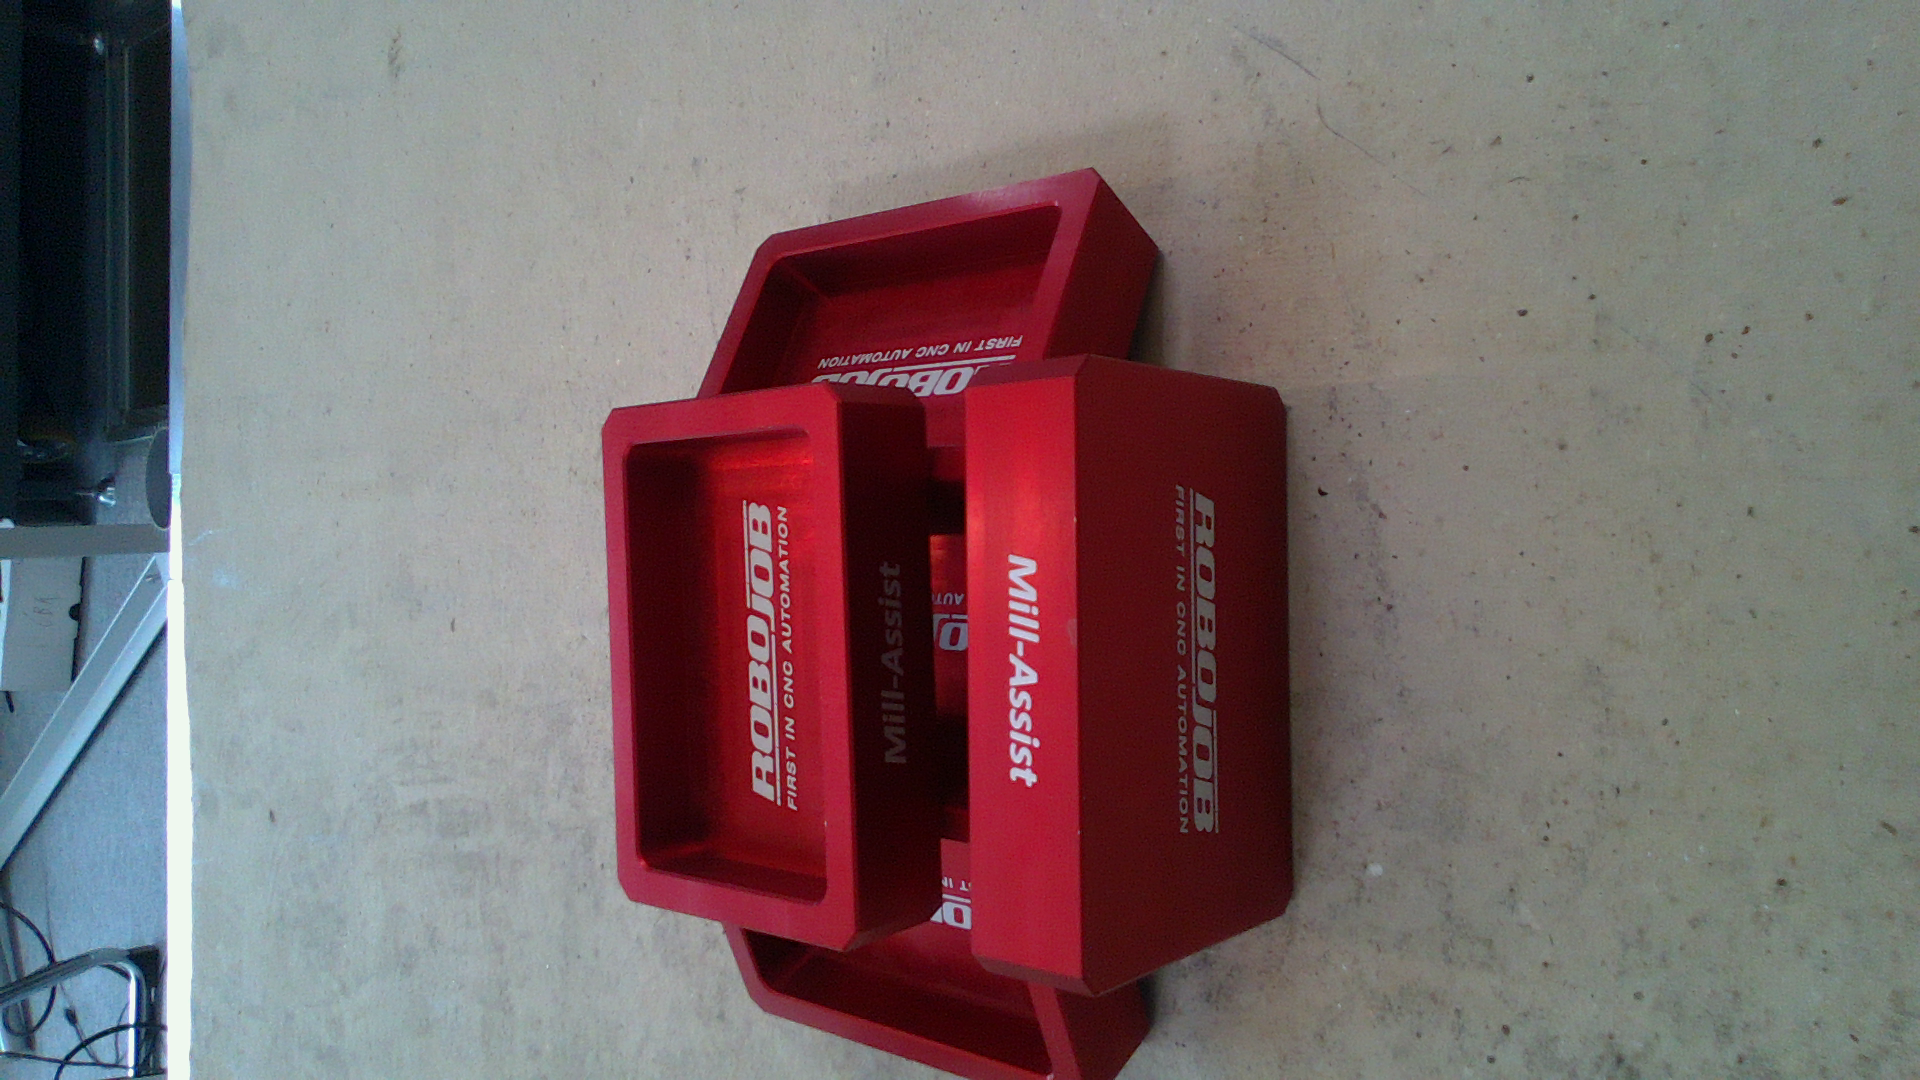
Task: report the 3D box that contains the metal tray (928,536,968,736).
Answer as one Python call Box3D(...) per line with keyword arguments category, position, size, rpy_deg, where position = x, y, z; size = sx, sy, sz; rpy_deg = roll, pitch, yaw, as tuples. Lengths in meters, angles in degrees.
Box3D(category="metal tray", position=(-0.003, 0.022, 0.392), size=(0.129, 0.030, 0.090), rpy_deg=(-1, 91, 40))

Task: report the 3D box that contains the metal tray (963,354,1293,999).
Box3D(category="metal tray", position=(0.042, 0.027, 0.317), size=(0.030, 0.090, 0.130), rpy_deg=(-1, 90, 40))

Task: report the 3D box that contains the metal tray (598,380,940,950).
Box3D(category="metal tray", position=(-0.051, 0.029, 0.349), size=(0.090, 0.030, 0.130), rpy_deg=(-1, 92, 40))

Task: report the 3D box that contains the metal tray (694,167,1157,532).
Box3D(category="metal tray", position=(-0.017, -0.049, 0.383), size=(0.129, 0.030, 0.090), rpy_deg=(0, 63, 40))

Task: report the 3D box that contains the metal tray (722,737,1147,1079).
Box3D(category="metal tray", position=(-0.019, 0.099, 0.385), size=(0.129, 0.030, 0.090), rpy_deg=(0, 115, 40))
